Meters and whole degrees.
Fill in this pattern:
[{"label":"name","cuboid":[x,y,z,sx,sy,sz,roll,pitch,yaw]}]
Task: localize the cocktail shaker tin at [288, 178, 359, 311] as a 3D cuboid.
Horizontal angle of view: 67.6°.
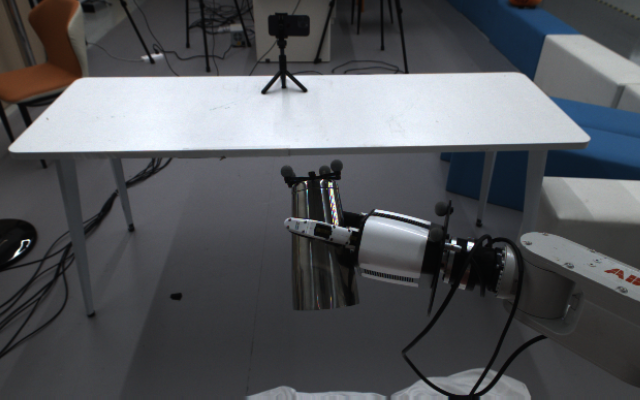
[{"label":"cocktail shaker tin","cuboid":[0.000,0.062,0.672,0.093,0.170,0.093,-6,-7,-1]}]
